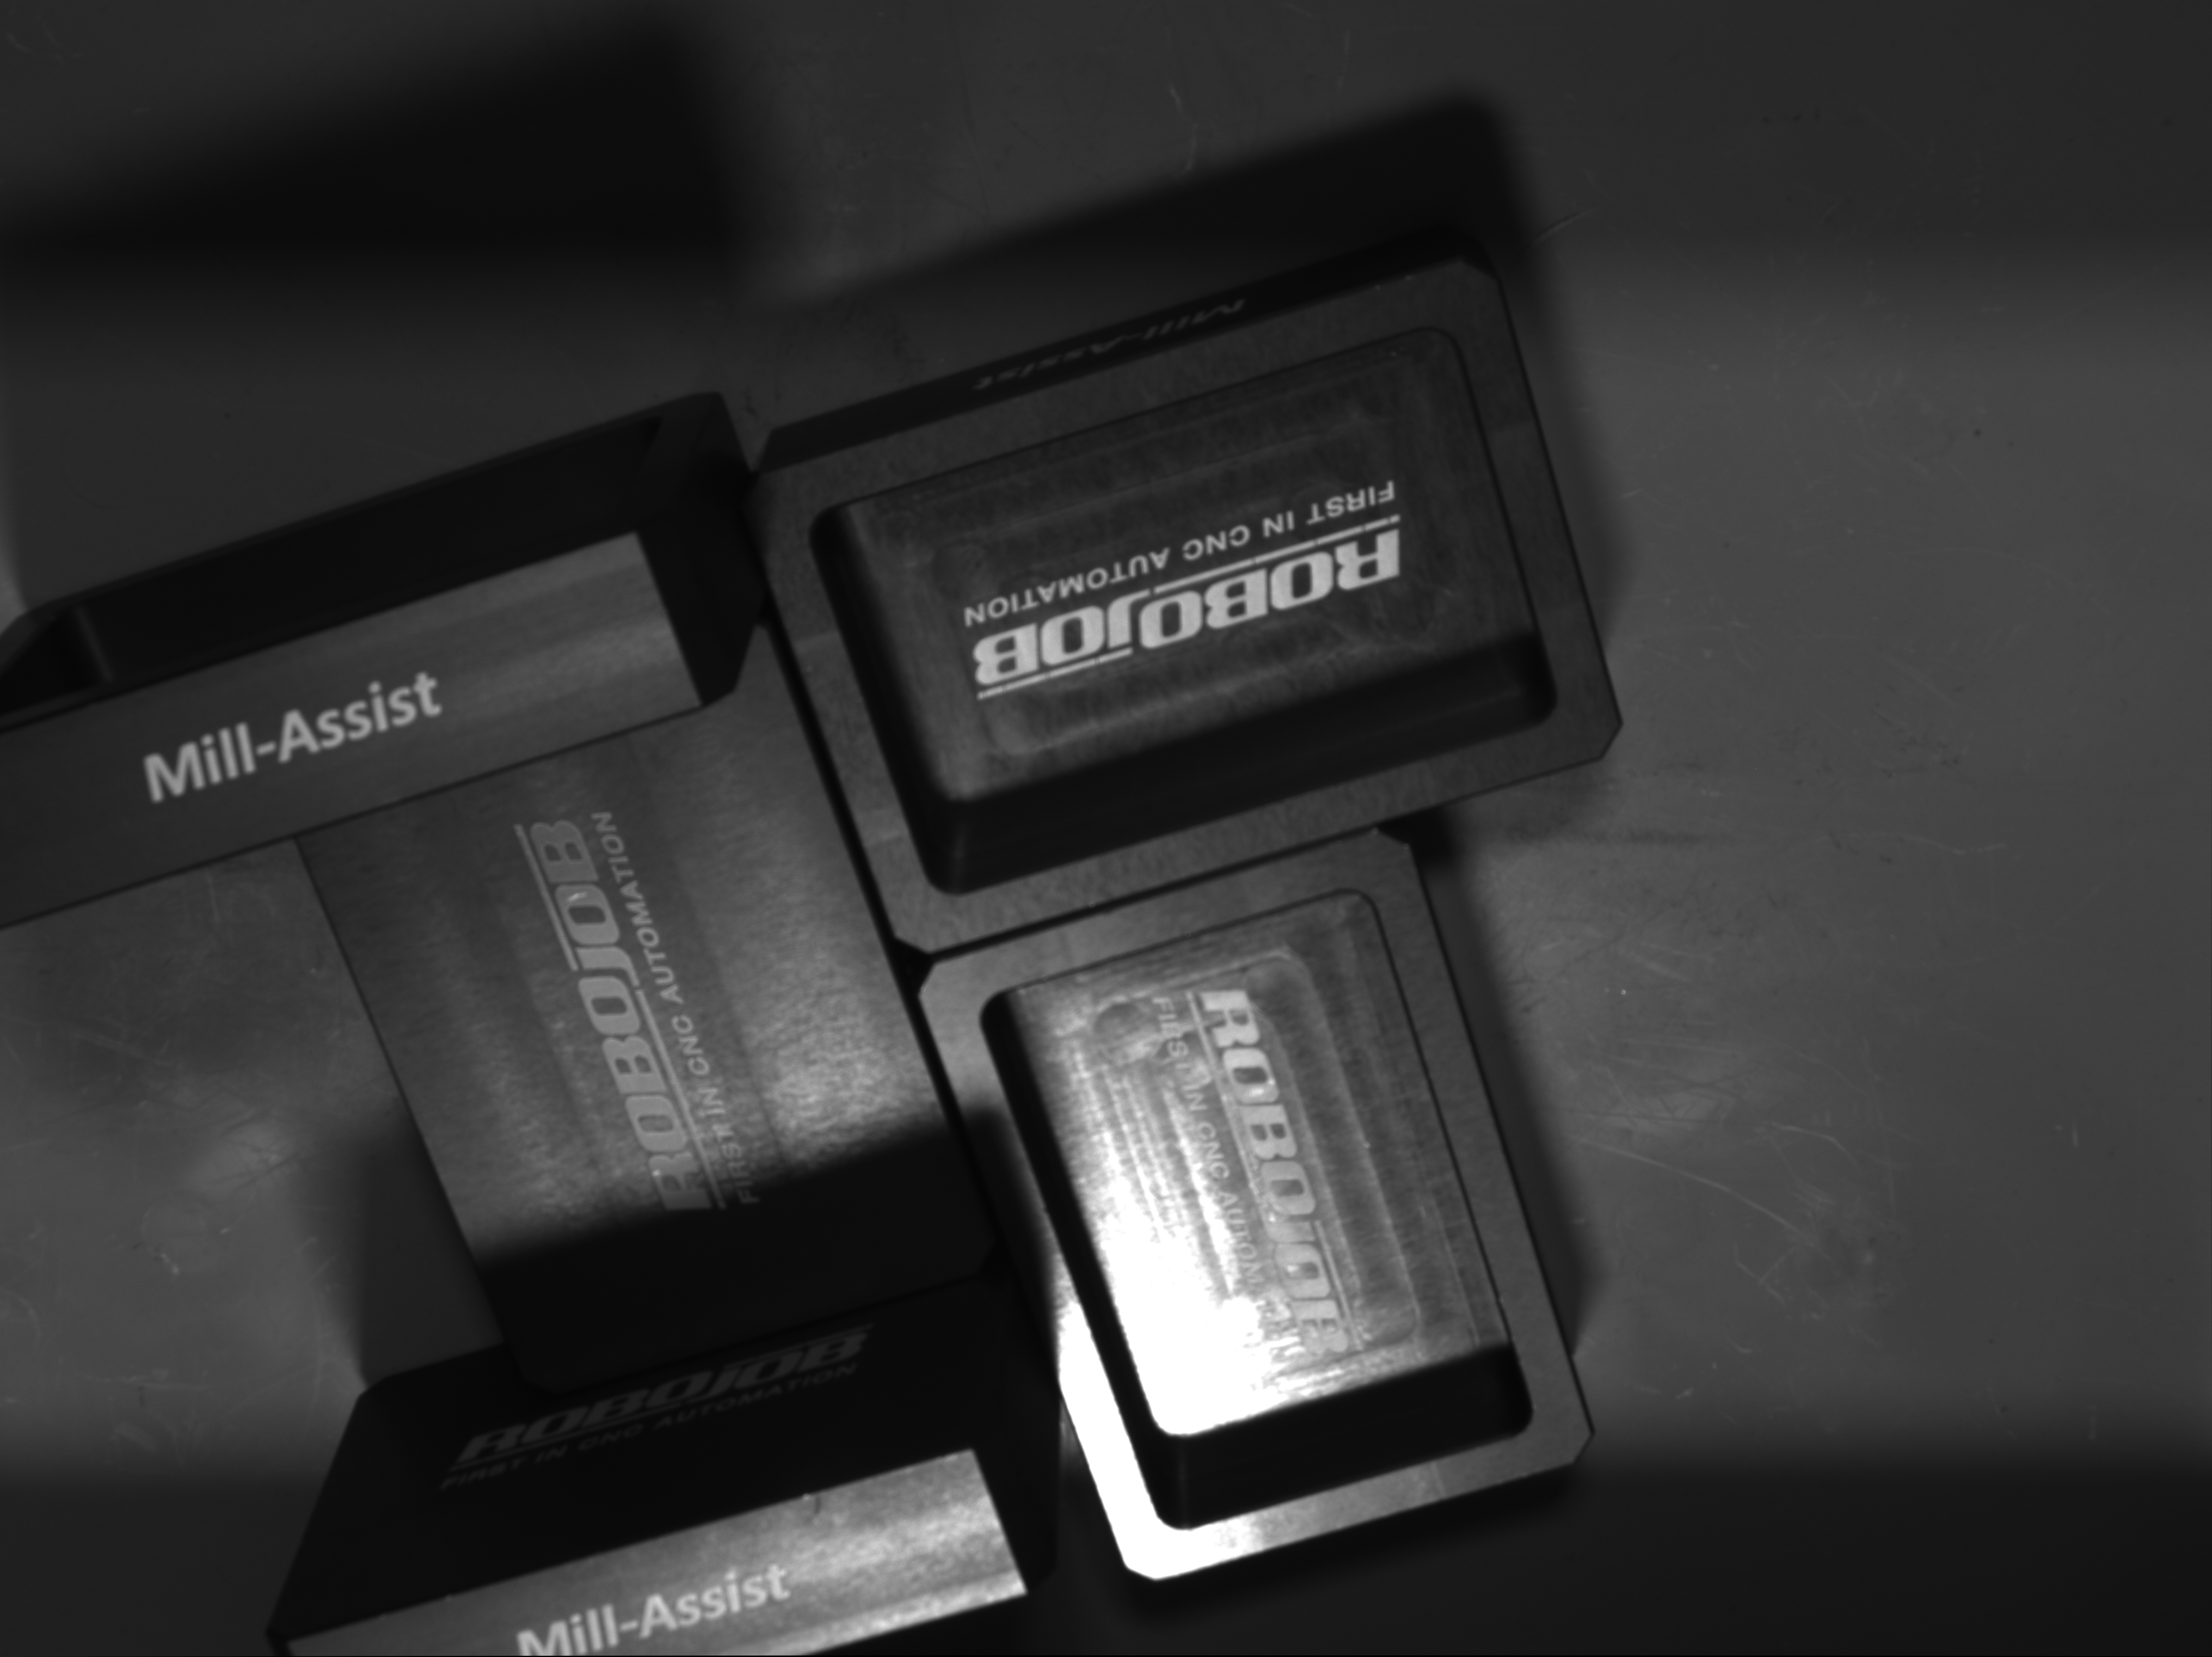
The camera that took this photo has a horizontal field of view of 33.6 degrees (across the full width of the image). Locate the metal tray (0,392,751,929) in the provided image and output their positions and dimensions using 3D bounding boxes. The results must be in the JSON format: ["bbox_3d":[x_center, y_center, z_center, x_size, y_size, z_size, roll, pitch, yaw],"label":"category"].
[{"bbox_3d":[-0.125,-0.028,0.593,0.130,0.090,0.030,-17,109,5],"label":"metal tray"}]

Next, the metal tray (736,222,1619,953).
[{"bbox_3d":[0.013,-0.040,0.624,0.130,0.030,0.090,-16,109,5],"label":"metal tray"}]

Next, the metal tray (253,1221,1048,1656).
[{"bbox_3d":[-0.076,0.116,0.647,0.130,0.090,0.030,-16,109,5],"label":"metal tray"}]

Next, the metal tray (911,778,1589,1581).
[{"bbox_3d":[0.027,0.064,0.663,0.090,0.030,0.130,-16,109,5],"label":"metal tray"}]

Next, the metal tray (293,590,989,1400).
[{"bbox_3d":[-0.082,0.029,0.647,0.090,0.030,0.130,-16,109,5],"label":"metal tray"}]
